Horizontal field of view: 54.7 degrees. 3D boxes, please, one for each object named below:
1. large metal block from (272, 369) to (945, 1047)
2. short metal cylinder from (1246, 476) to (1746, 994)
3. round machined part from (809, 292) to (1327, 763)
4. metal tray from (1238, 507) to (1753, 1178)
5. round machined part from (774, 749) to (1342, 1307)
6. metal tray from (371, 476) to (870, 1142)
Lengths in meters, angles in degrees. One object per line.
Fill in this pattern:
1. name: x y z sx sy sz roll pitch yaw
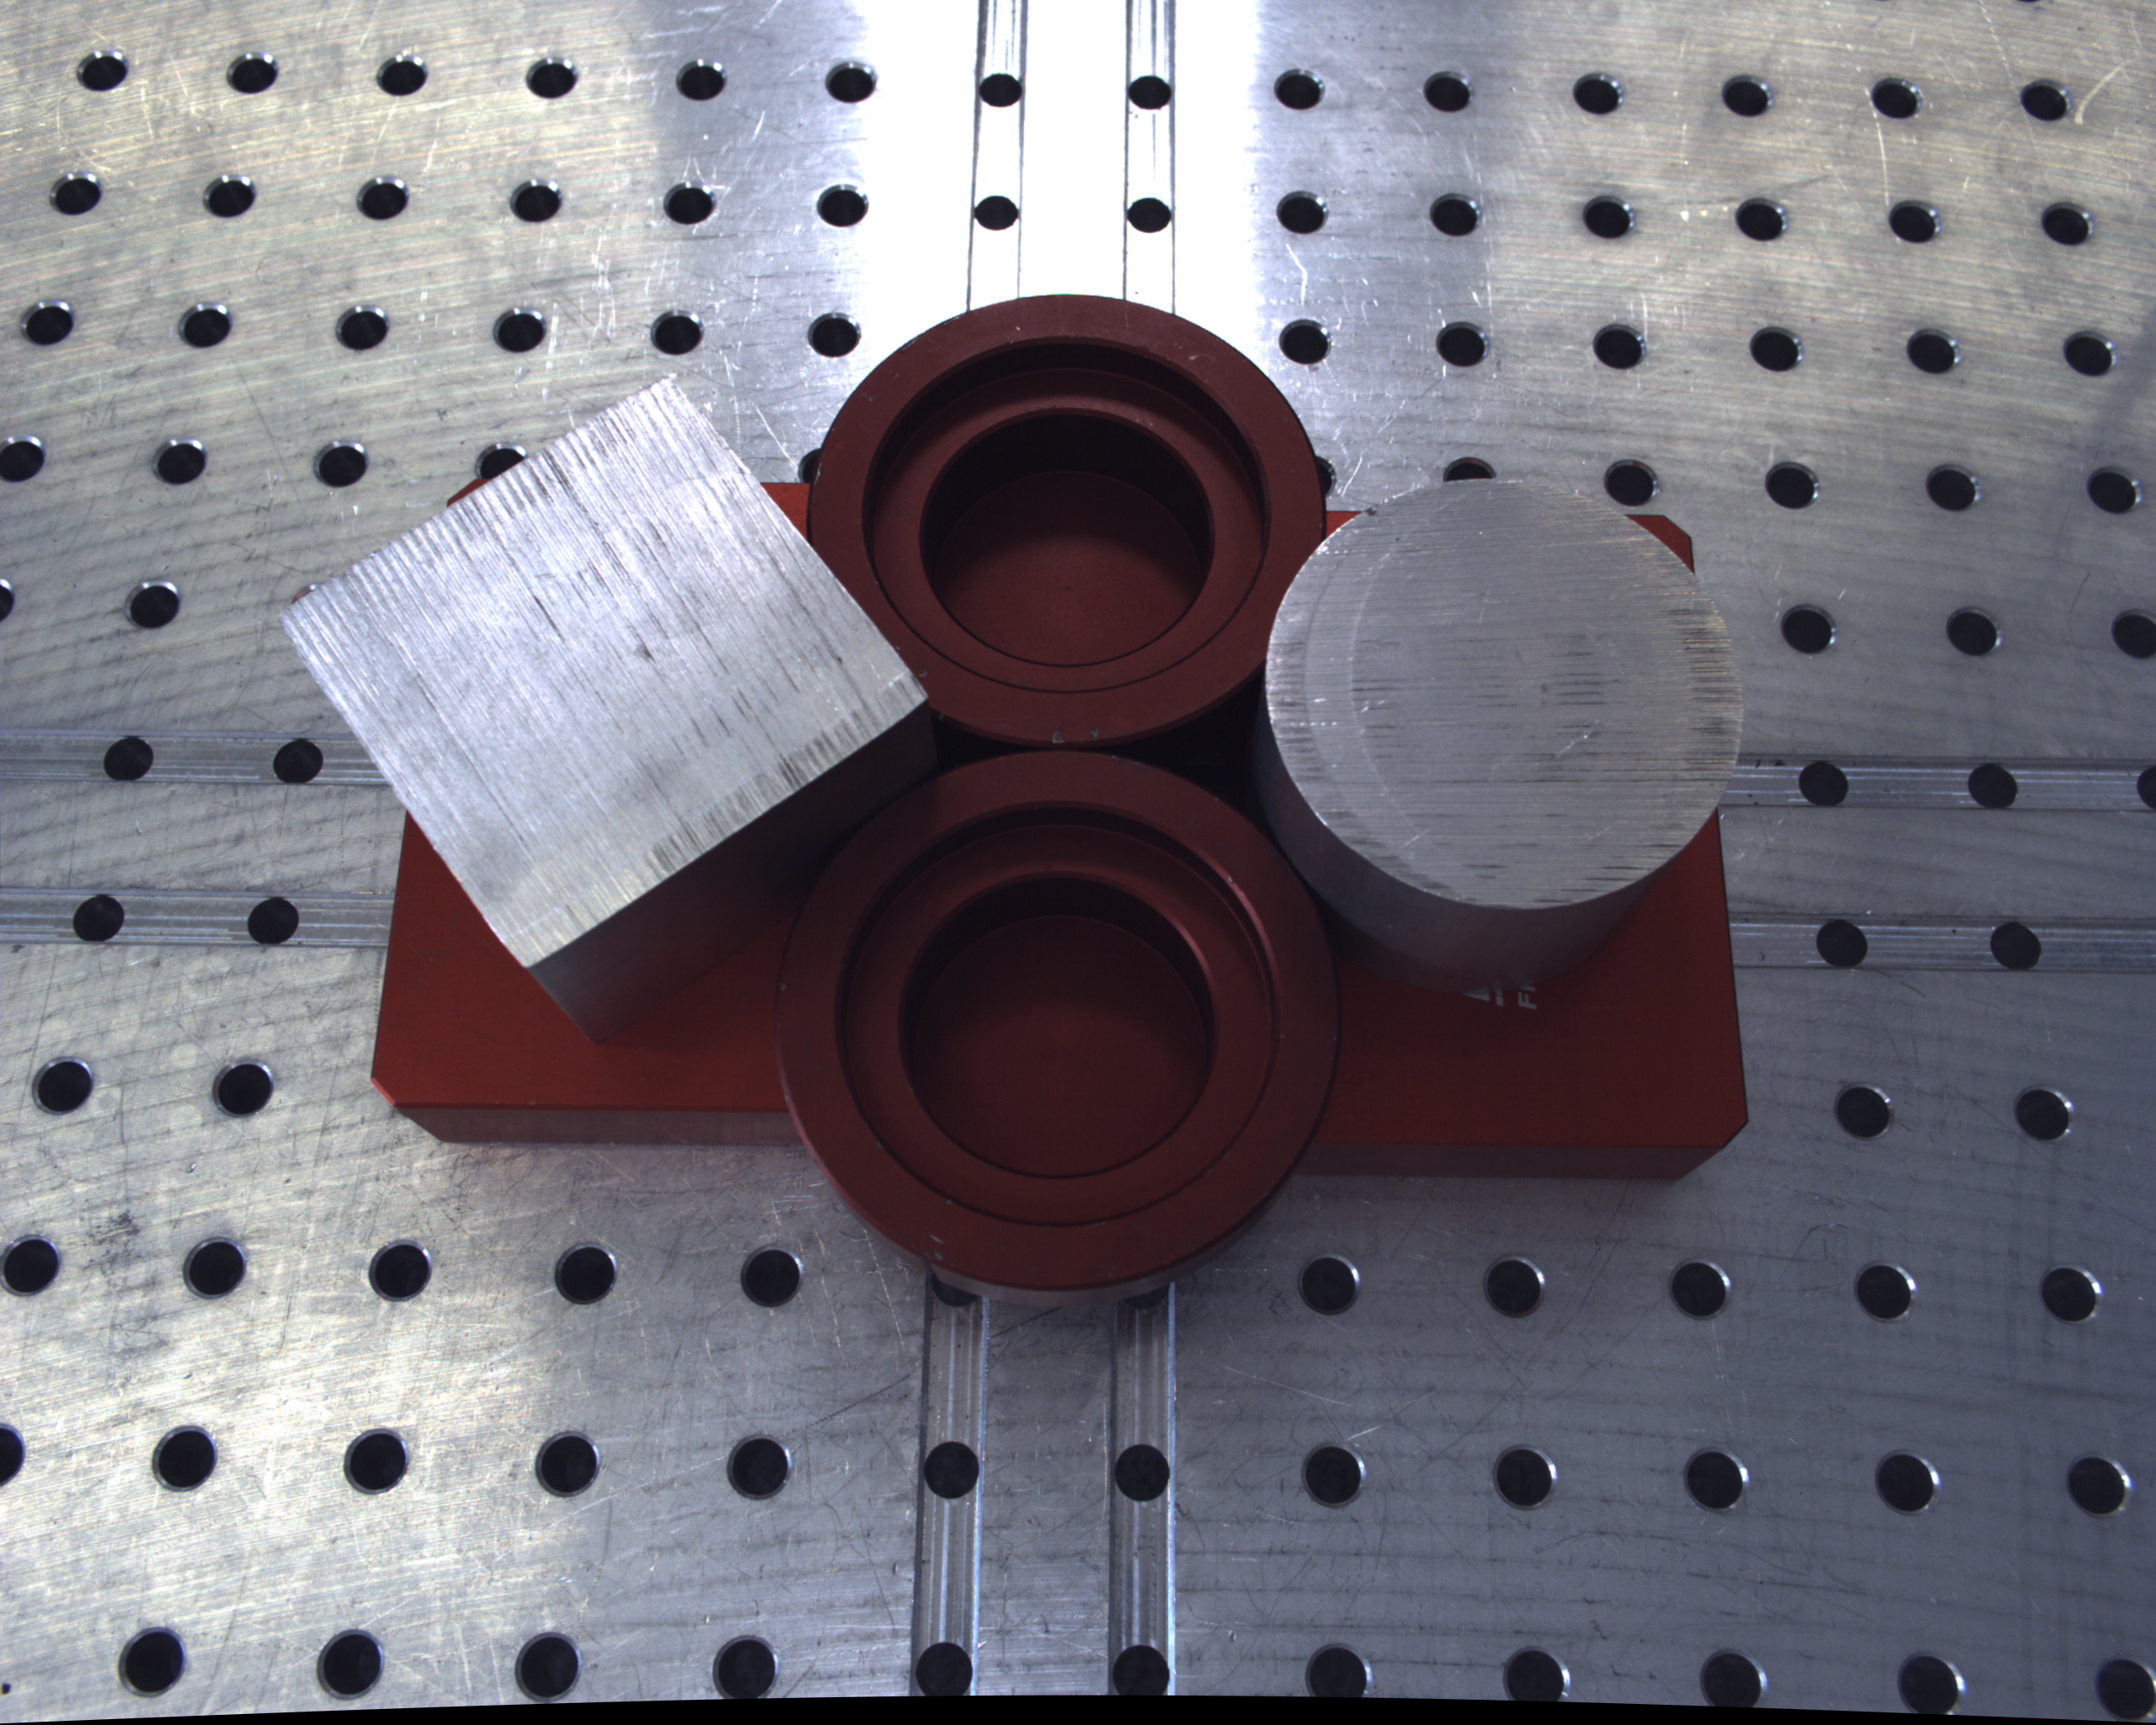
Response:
1. large metal block: -0.081 -0.027 0.376 0.080 0.050 0.080 -35 74 -12
2. short metal cylinder: 0.072 -0.022 0.374 0.081 0.050 0.080 0 70 0
3. round machined part: -0.002 -0.061 0.415 0.099 0.042 0.098 0 70 0
4. metal tray: 0.077 -0.006 0.409 0.091 0.030 0.130 1 70 0
5. round machined part: -0.003 0.032 0.381 0.099 0.042 0.098 0 70 0
6. metal tray: -0.082 -0.012 0.412 0.091 0.030 0.130 1 70 -1
